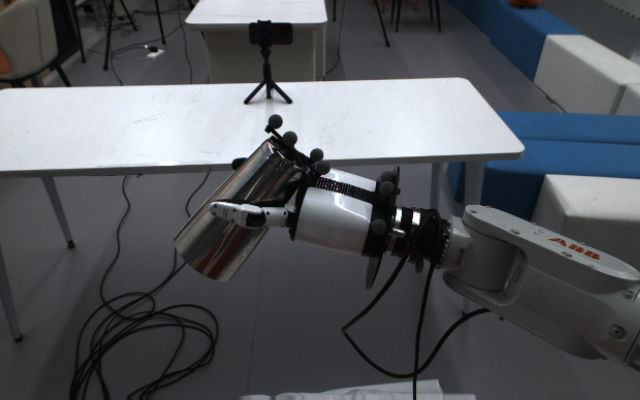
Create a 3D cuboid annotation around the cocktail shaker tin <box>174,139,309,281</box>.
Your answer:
[{"bbox_3d":[-0.092,0.006,0.603,0.093,0.170,0.093,41,12,-11],"label":"cocktail shaker tin"}]
